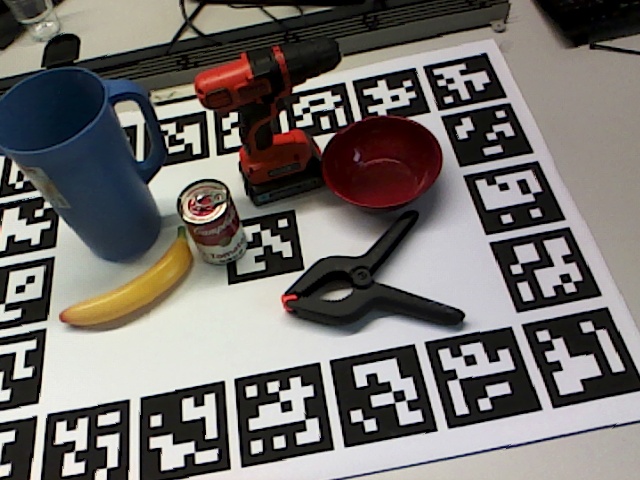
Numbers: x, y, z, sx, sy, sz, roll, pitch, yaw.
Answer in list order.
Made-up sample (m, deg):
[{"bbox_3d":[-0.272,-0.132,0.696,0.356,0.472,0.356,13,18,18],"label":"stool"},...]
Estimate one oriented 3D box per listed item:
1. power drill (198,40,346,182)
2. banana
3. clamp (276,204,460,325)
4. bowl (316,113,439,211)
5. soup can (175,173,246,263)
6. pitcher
[{"bbox_3d":[-0.049,-0.165,0.803,0.184,0.186,0.057,-16,56,-2],"label":"power drill"},{"bbox_3d":[-0.248,0.058,0.805,0.197,0.038,0.075,-33,50,-14],"label":"banana"},{"bbox_3d":[0.047,0.048,0.752,0.203,0.036,0.166,-14,60,0],"label":"clamp"},{"bbox_3d":[0.078,-0.095,0.837,0.162,0.055,0.162,-4,58,7],"label":"bowl"},{"bbox_3d":[-0.140,-0.027,0.803,0.068,0.101,0.068,-7,48,7],"label":"soup can"},{"bbox_3d":[-0.277,-0.090,0.782,0.188,0.241,0.134,-33,55,-12],"label":"pitcher"}]
